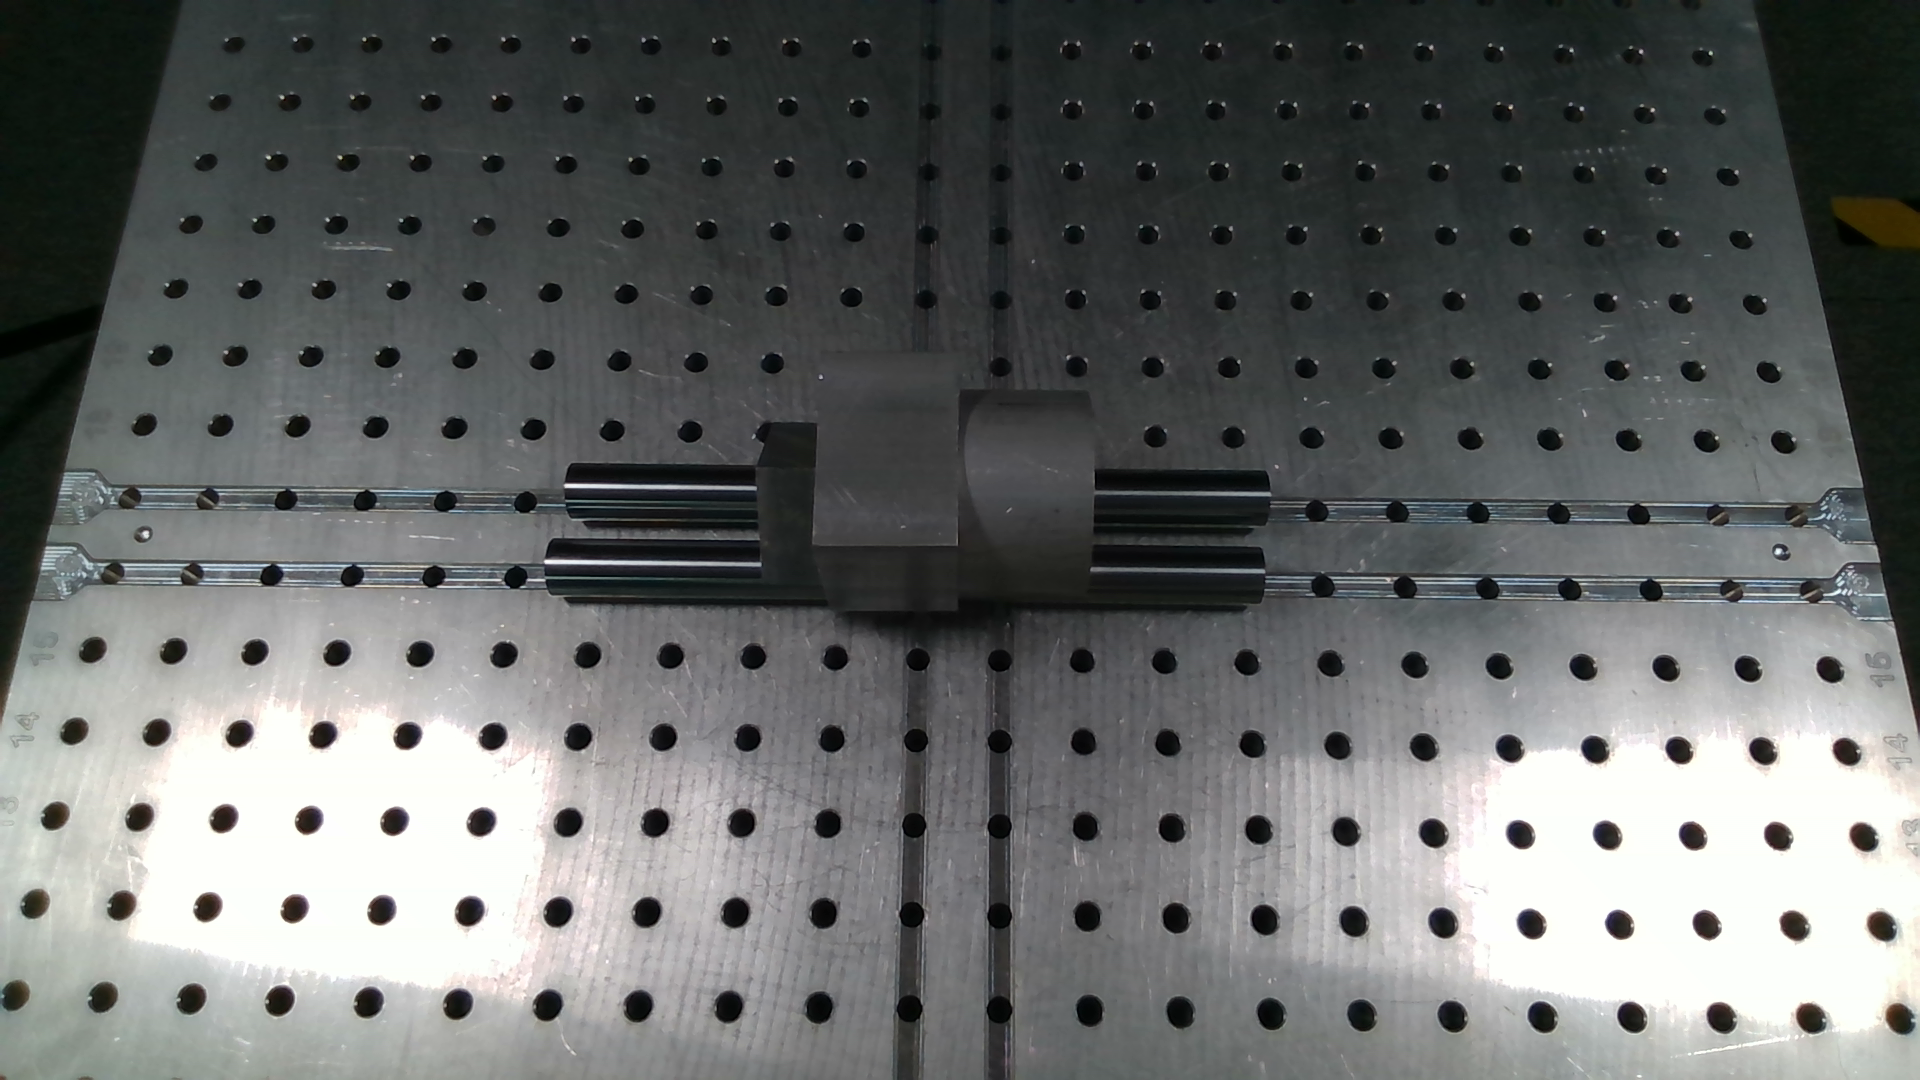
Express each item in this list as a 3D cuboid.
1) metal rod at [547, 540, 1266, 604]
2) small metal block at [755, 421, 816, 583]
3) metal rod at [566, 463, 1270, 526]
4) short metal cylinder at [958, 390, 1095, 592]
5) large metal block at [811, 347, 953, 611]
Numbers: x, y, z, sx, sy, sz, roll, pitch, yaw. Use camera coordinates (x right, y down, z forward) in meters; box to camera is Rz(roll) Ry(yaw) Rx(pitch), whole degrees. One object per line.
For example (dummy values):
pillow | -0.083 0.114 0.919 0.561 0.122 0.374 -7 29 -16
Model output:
metal rod | -0.022 0.014 0.587 0.300 0.025 0.025 1 70 0
small metal block | -0.066 -0.016 0.559 0.025 0.050 0.050 1 115 0
metal rod | -0.018 -0.020 0.599 0.300 0.025 0.025 1 70 0
short metal cylinder | 0.025 -0.020 0.546 0.050 0.080 0.080 1 70 0
large metal block | -0.028 -0.021 0.543 0.050 0.080 0.080 0 70 0
